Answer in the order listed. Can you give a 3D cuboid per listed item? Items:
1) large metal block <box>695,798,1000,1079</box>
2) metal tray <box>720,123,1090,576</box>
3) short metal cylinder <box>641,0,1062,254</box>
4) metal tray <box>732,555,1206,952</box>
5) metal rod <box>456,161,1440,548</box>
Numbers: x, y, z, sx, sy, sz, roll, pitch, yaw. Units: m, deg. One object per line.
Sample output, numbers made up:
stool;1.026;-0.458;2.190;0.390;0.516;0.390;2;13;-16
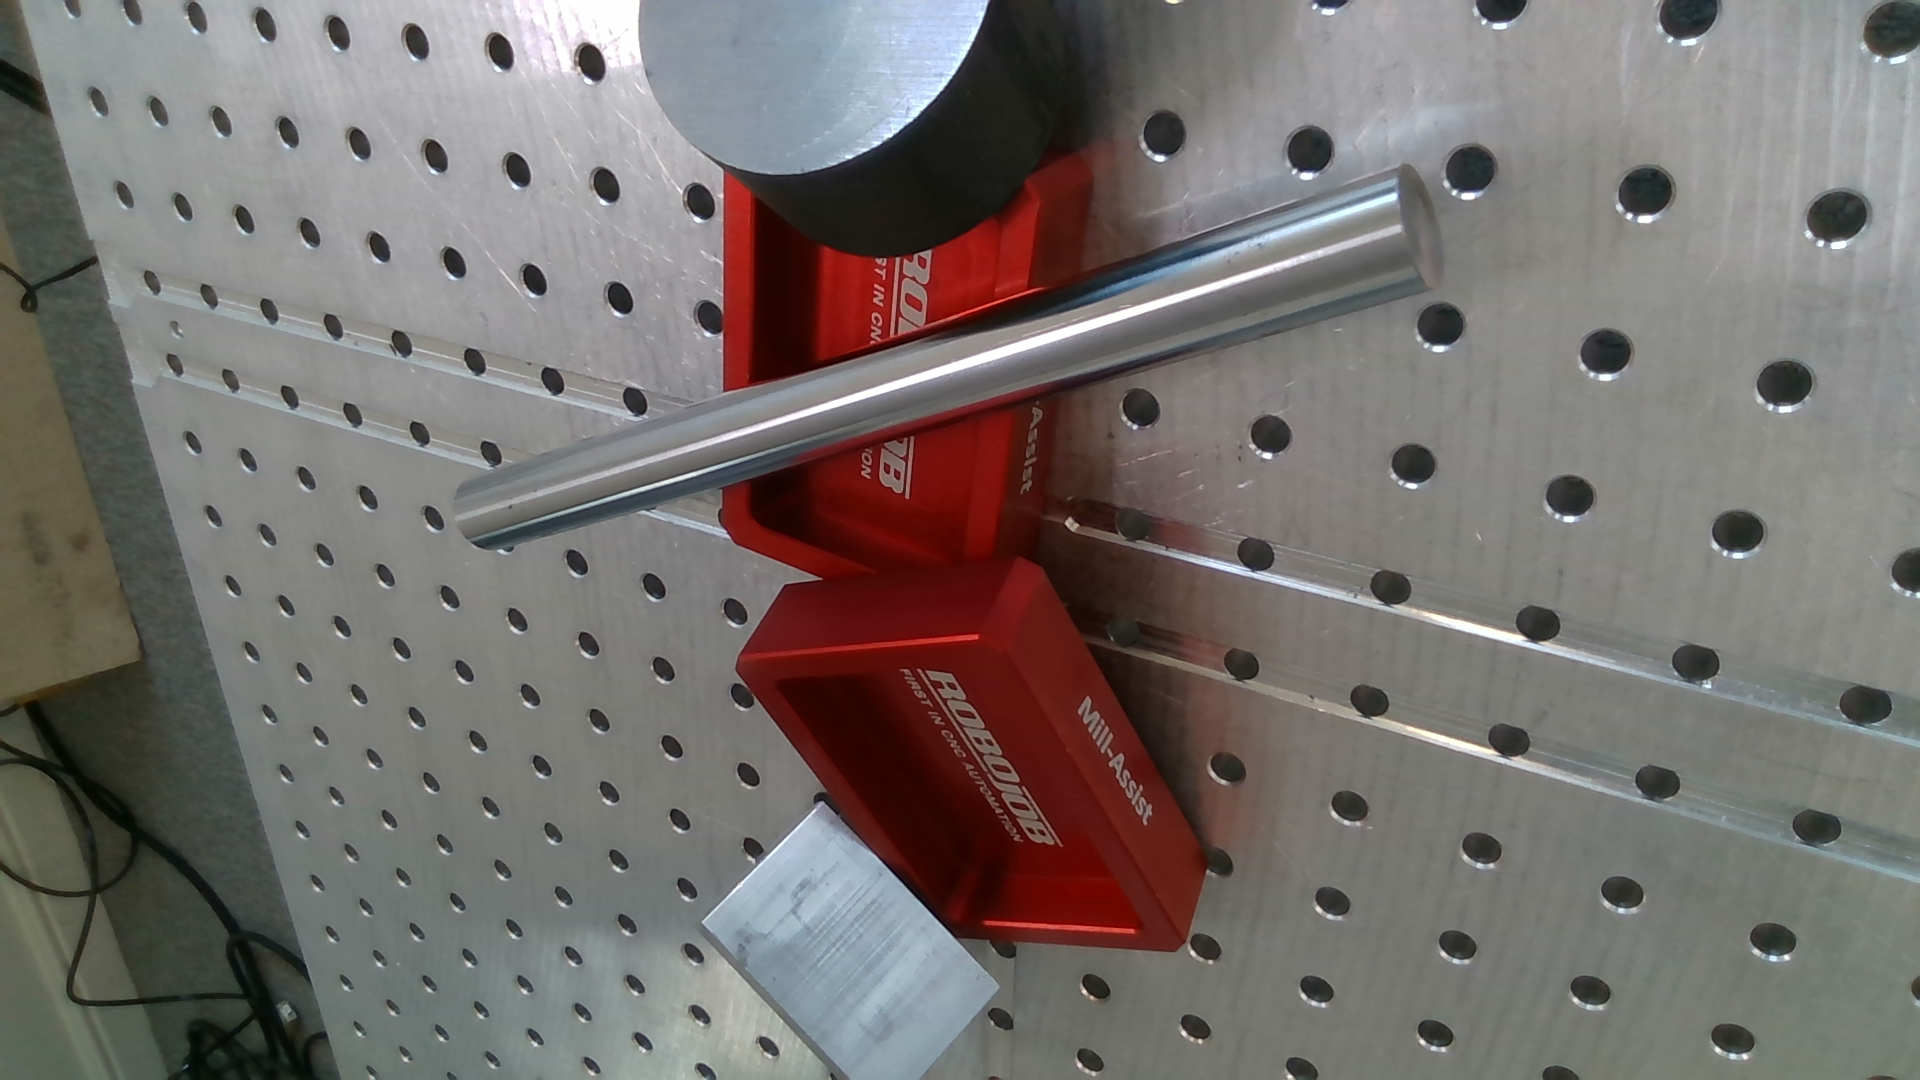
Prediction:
large metal block;-0.041;0.135;0.453;0.080;0.050;0.080;46;160;2
metal tray;-0.020;-0.047;0.375;0.090;0.030;0.130;20;124;21
short metal cylinder;-0.022;-0.111;0.306;0.080;0.050;0.080;-3;81;19
metal tray;0.005;0.066;0.397;0.090;0.030;0.130;-8;127;34
metal rod;-0.031;-0.035;0.353;0.300;0.025;0.025;-12;108;36
